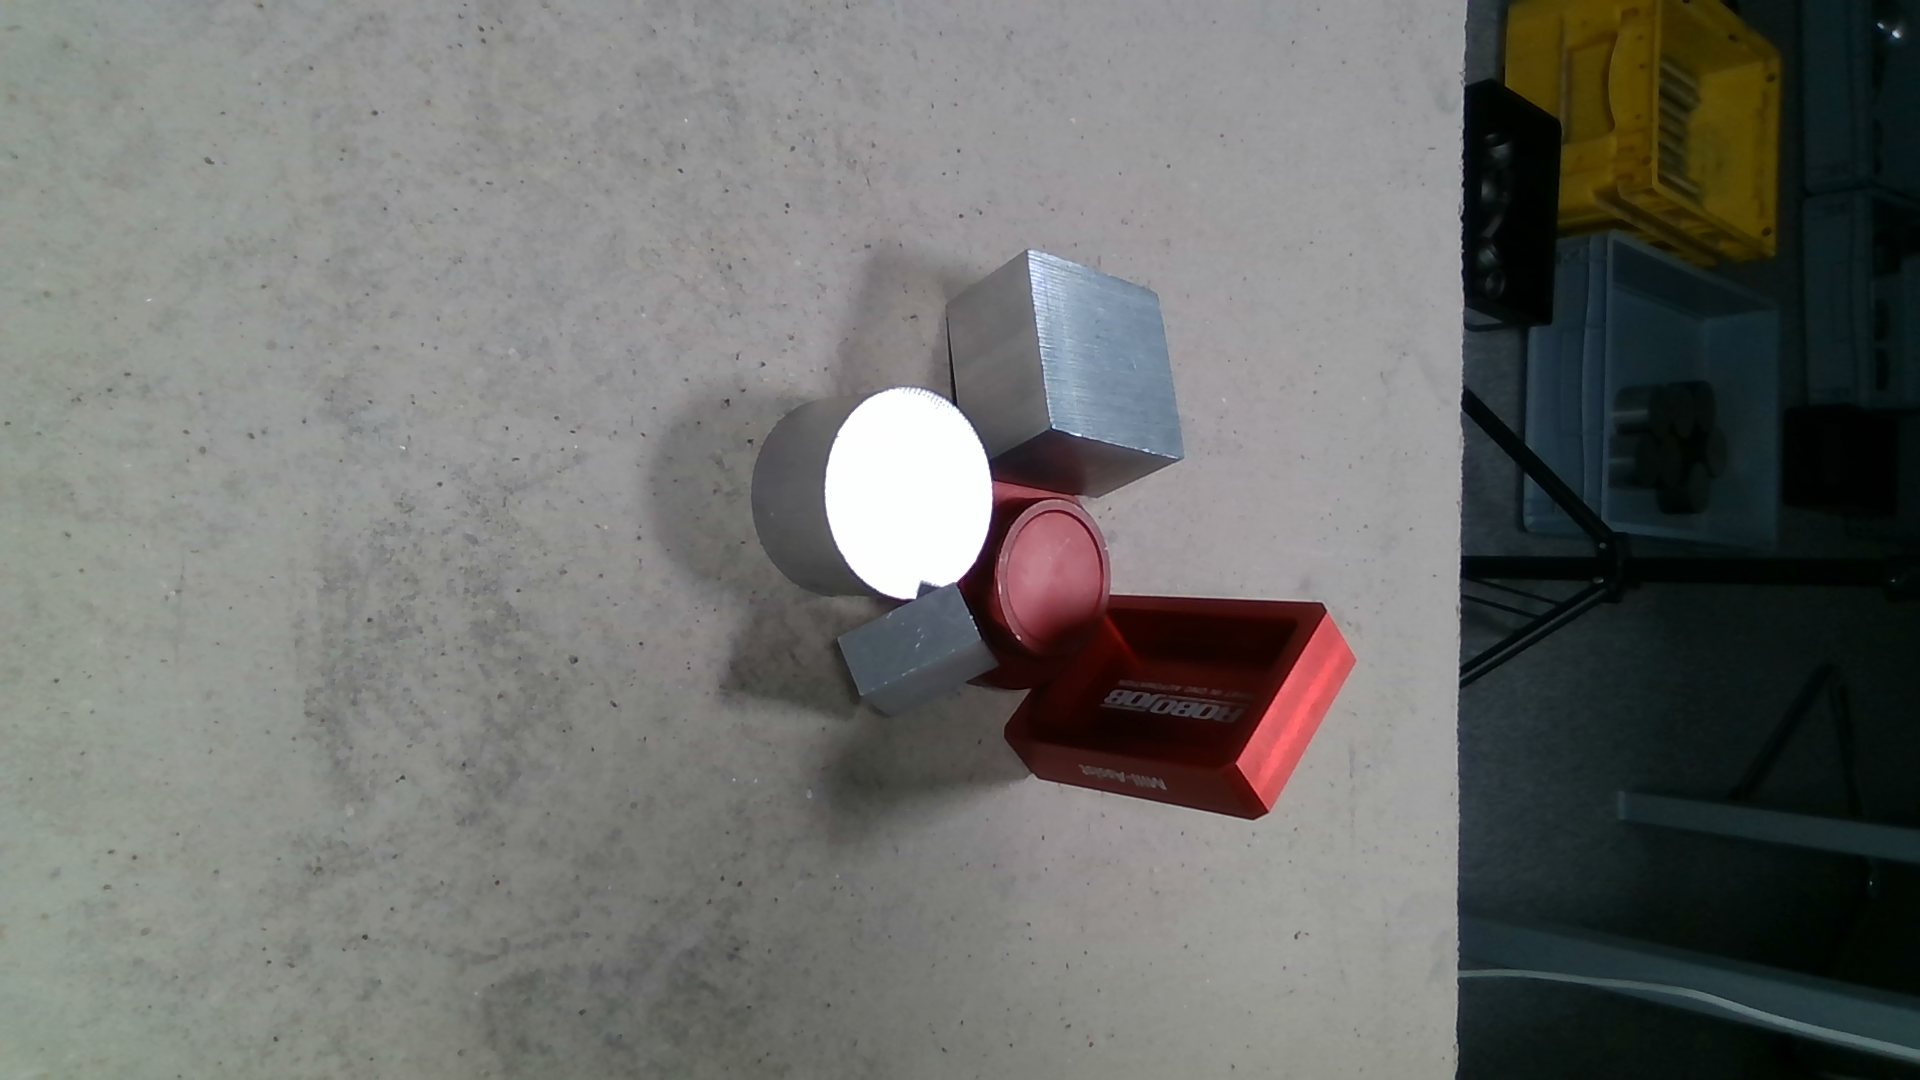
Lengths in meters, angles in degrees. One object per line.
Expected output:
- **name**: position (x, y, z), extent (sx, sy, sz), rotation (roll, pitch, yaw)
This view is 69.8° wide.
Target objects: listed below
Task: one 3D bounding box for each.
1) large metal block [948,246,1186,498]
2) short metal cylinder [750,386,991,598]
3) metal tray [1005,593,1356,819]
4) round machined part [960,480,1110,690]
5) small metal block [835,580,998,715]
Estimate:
- **large metal block**: position (0.045, -0.069, 0.589), extent (0.080, 0.050, 0.080), rotation (9, 67, -40)
- **short metal cylinder**: position (-0.034, -0.018, 0.538), extent (0.080, 0.050, 0.080), rotation (0, 90, -40)
- **metal tray**: position (0.092, 0.066, 0.590), extent (0.090, 0.130, 0.030), rotation (-52, 121, -28)
- **round machined part**: position (0.027, 0.016, 0.596), extent (0.098, 0.042, 0.098), rotation (0, 90, -40)
- **small metal block**: position (-0.016, 0.044, 0.540), extent (0.050, 0.050, 0.025), rotation (-26, 71, 2)
